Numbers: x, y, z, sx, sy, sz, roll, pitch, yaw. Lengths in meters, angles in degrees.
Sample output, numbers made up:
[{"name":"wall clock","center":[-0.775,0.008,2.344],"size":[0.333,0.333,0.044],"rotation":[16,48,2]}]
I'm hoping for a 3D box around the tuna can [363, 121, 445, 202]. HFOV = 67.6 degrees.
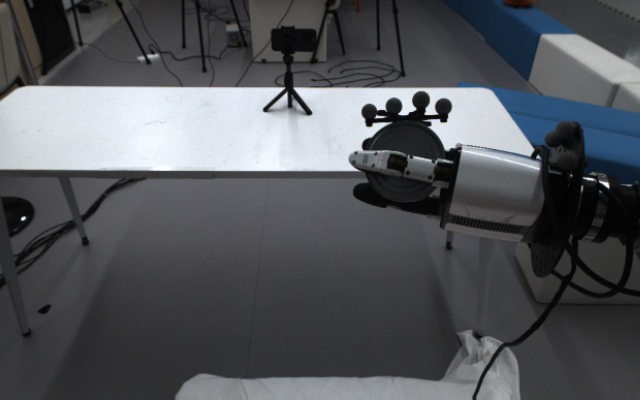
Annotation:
[{"name":"tuna can","center":[0.093,-0.041,0.524],"size":[0.085,0.085,0.034],"rotation":[15,2,18]}]
